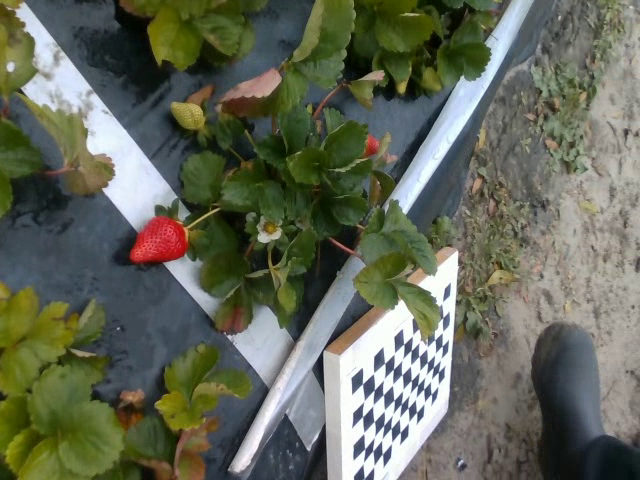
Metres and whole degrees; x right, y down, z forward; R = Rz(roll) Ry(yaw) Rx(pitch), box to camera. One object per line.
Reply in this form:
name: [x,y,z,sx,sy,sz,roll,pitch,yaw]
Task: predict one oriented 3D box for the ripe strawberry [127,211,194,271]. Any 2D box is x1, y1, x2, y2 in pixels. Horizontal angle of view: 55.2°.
ripe strawberry: [-0.124,0.003,0.456,0.037,0.042,0.051,18,36,30]
